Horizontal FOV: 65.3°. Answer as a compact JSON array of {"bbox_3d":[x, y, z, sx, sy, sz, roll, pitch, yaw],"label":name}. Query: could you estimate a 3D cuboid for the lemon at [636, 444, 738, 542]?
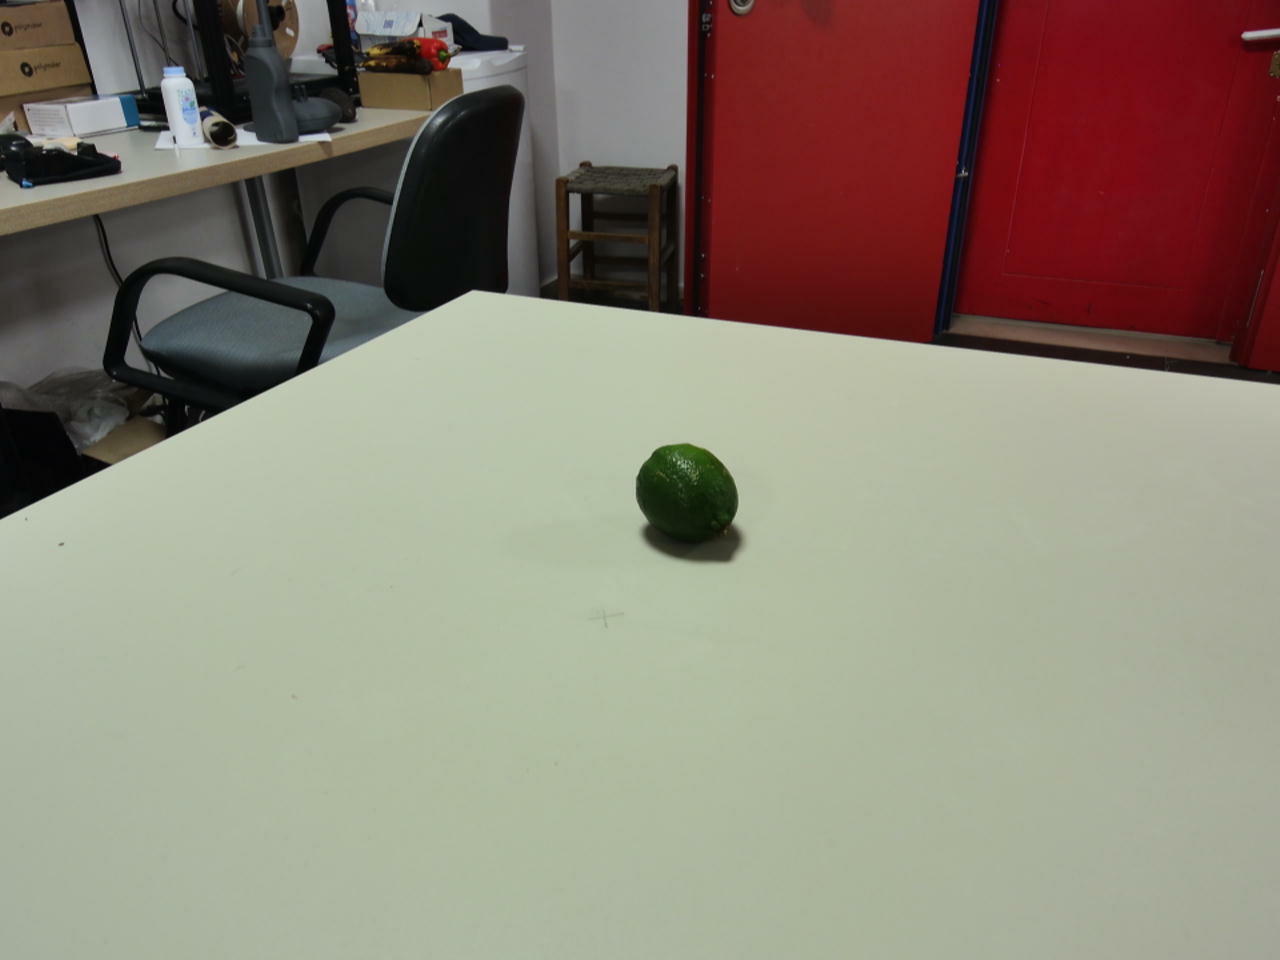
[{"bbox_3d":[0.025,0.006,0.544,0.057,0.051,0.054,10,27,19],"label":"lemon"}]
